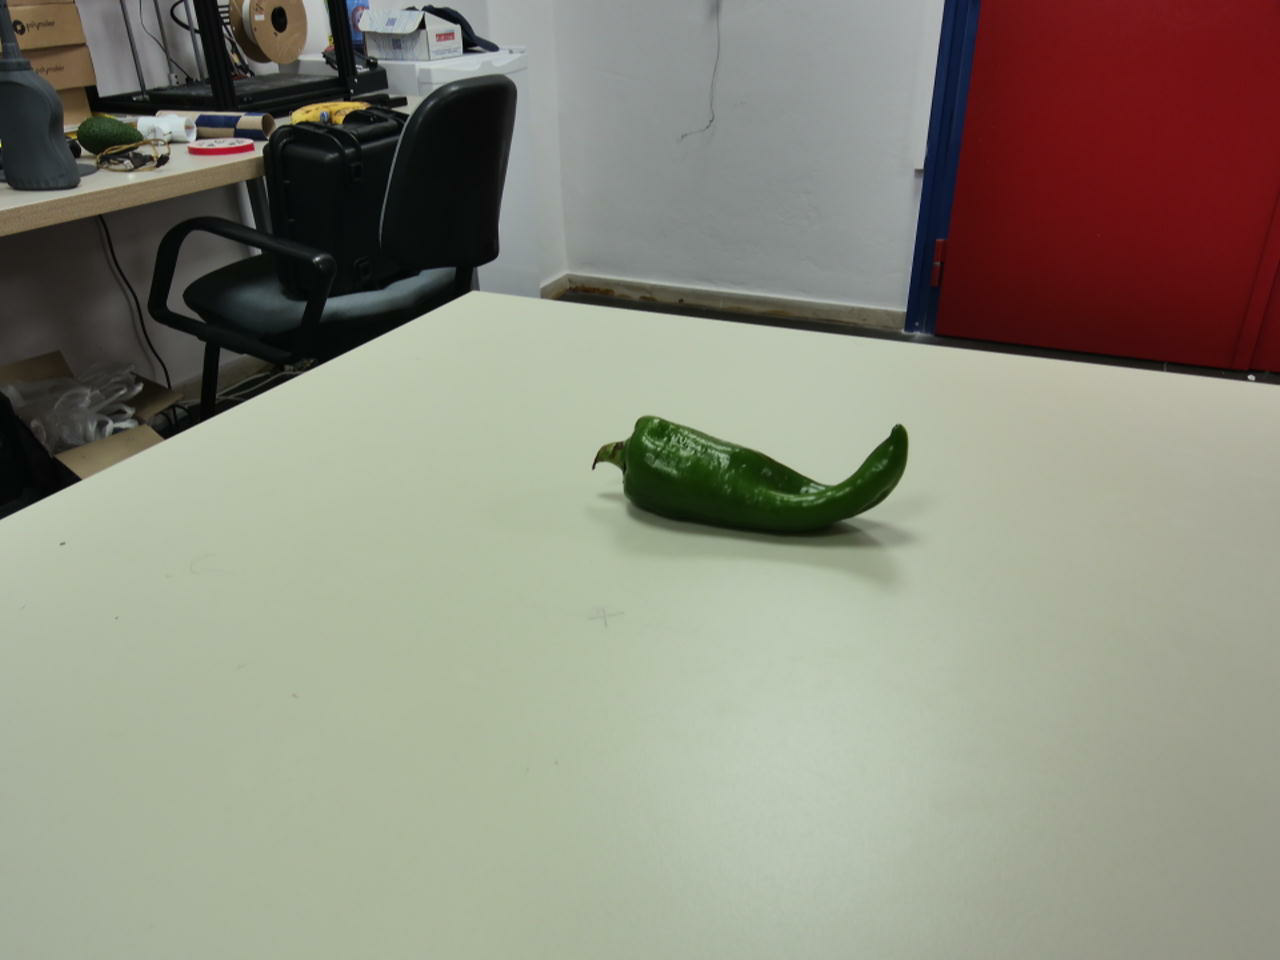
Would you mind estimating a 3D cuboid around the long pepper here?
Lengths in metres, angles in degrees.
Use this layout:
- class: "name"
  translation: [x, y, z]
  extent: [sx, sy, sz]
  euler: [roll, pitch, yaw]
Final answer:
- class: "long pepper"
  translation: [0.055, -0.008, 0.545]
  extent: [0.175, 0.065, 0.058]
  euler: [10, 27, 21]
